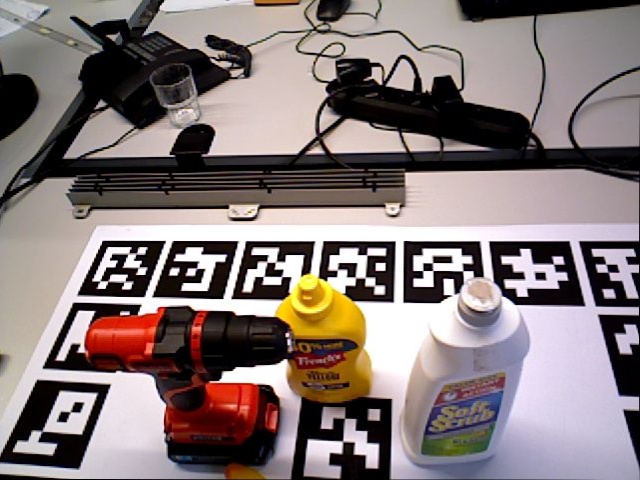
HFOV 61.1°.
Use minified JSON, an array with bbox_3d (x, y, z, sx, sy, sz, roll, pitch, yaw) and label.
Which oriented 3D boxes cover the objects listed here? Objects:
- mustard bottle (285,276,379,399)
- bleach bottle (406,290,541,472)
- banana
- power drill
[{"bbox_3d":[0.011,0.092,0.541,0.096,0.195,0.057,3,50,9],"label":"mustard bottle"},{"bbox_3d":[0.128,0.127,0.465,0.102,0.255,0.067,-4,50,5],"label":"bleach bottle"},{"bbox_3d":[0.003,0.250,0.510,0.198,0.039,0.073,3,55,14],"label":"banana"},{"bbox_3d":[-0.100,0.123,0.509,0.184,0.191,0.056,1,43,6],"label":"power drill"}]
